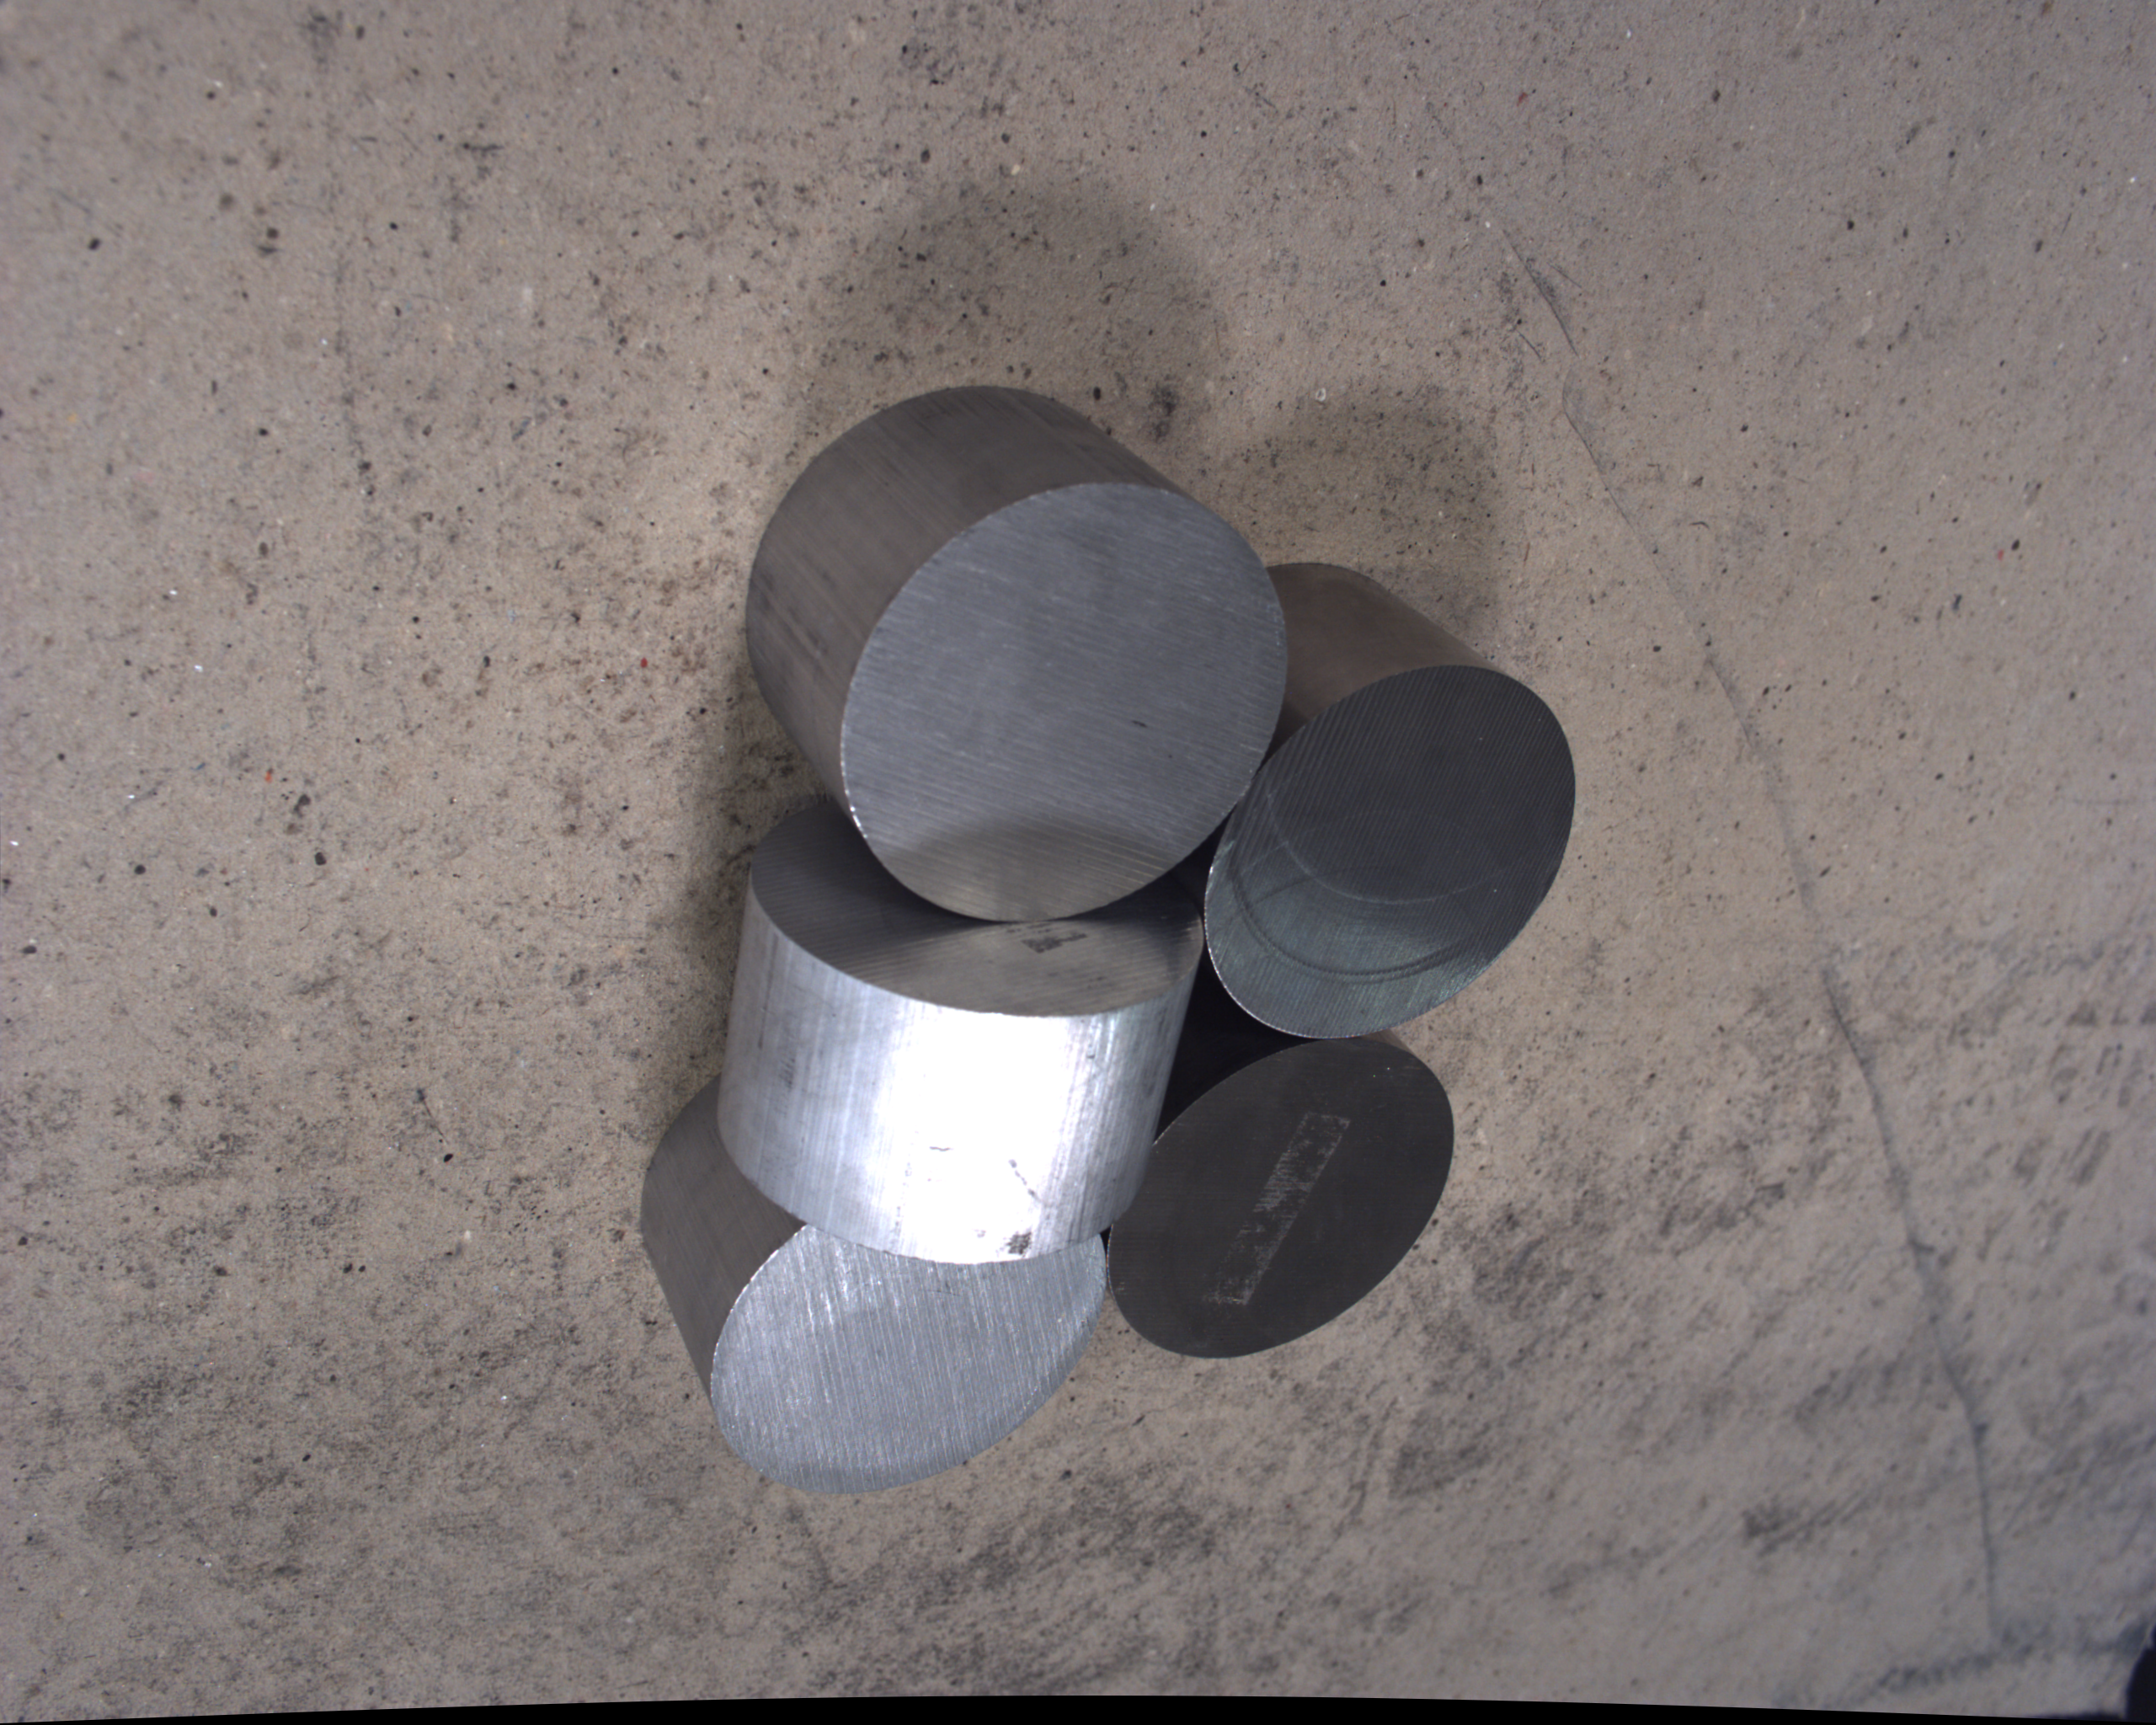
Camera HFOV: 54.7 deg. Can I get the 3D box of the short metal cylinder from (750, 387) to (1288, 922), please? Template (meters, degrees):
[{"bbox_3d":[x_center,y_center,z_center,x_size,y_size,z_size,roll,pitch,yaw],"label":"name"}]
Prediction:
[{"bbox_3d":[-0.011,-0.036,0.363,0.081,0.050,0.079,-13,124,-20],"label":"short metal cylinder"}]

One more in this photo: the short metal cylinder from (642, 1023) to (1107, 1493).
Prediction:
[{"bbox_3d":[-0.041,0.078,0.418,0.081,0.050,0.079,-13,124,-20],"label":"short metal cylinder"}]

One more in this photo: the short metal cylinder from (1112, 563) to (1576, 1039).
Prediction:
[{"bbox_3d":[0.049,-0.012,0.411,0.081,0.050,0.079,-14,125,-21],"label":"short metal cylinder"}]

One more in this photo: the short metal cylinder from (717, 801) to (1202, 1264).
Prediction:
[{"bbox_3d":[-0.022,0.027,0.377,0.081,0.080,0.050,-3,120,-27],"label":"short metal cylinder"}]

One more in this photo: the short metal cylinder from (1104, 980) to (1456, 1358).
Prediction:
[{"bbox_3d":[0.032,0.058,0.445,0.081,0.050,0.079,-13,124,-20],"label":"short metal cylinder"}]
